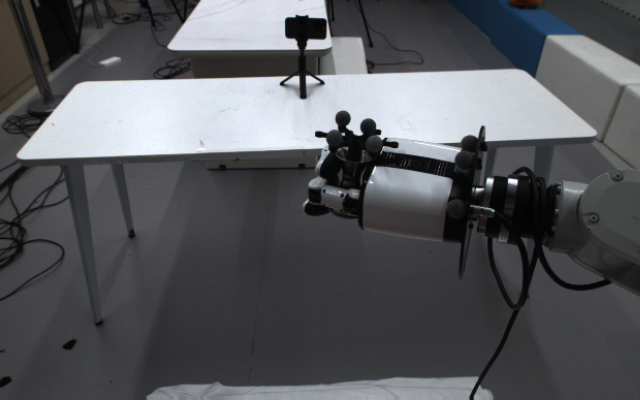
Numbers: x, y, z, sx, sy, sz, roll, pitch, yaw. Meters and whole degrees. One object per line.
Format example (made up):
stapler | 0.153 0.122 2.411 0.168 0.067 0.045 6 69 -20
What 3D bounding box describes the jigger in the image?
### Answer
jigger | 0.033 -0.020 0.542 0.043 0.071 0.043 5 26 -3
